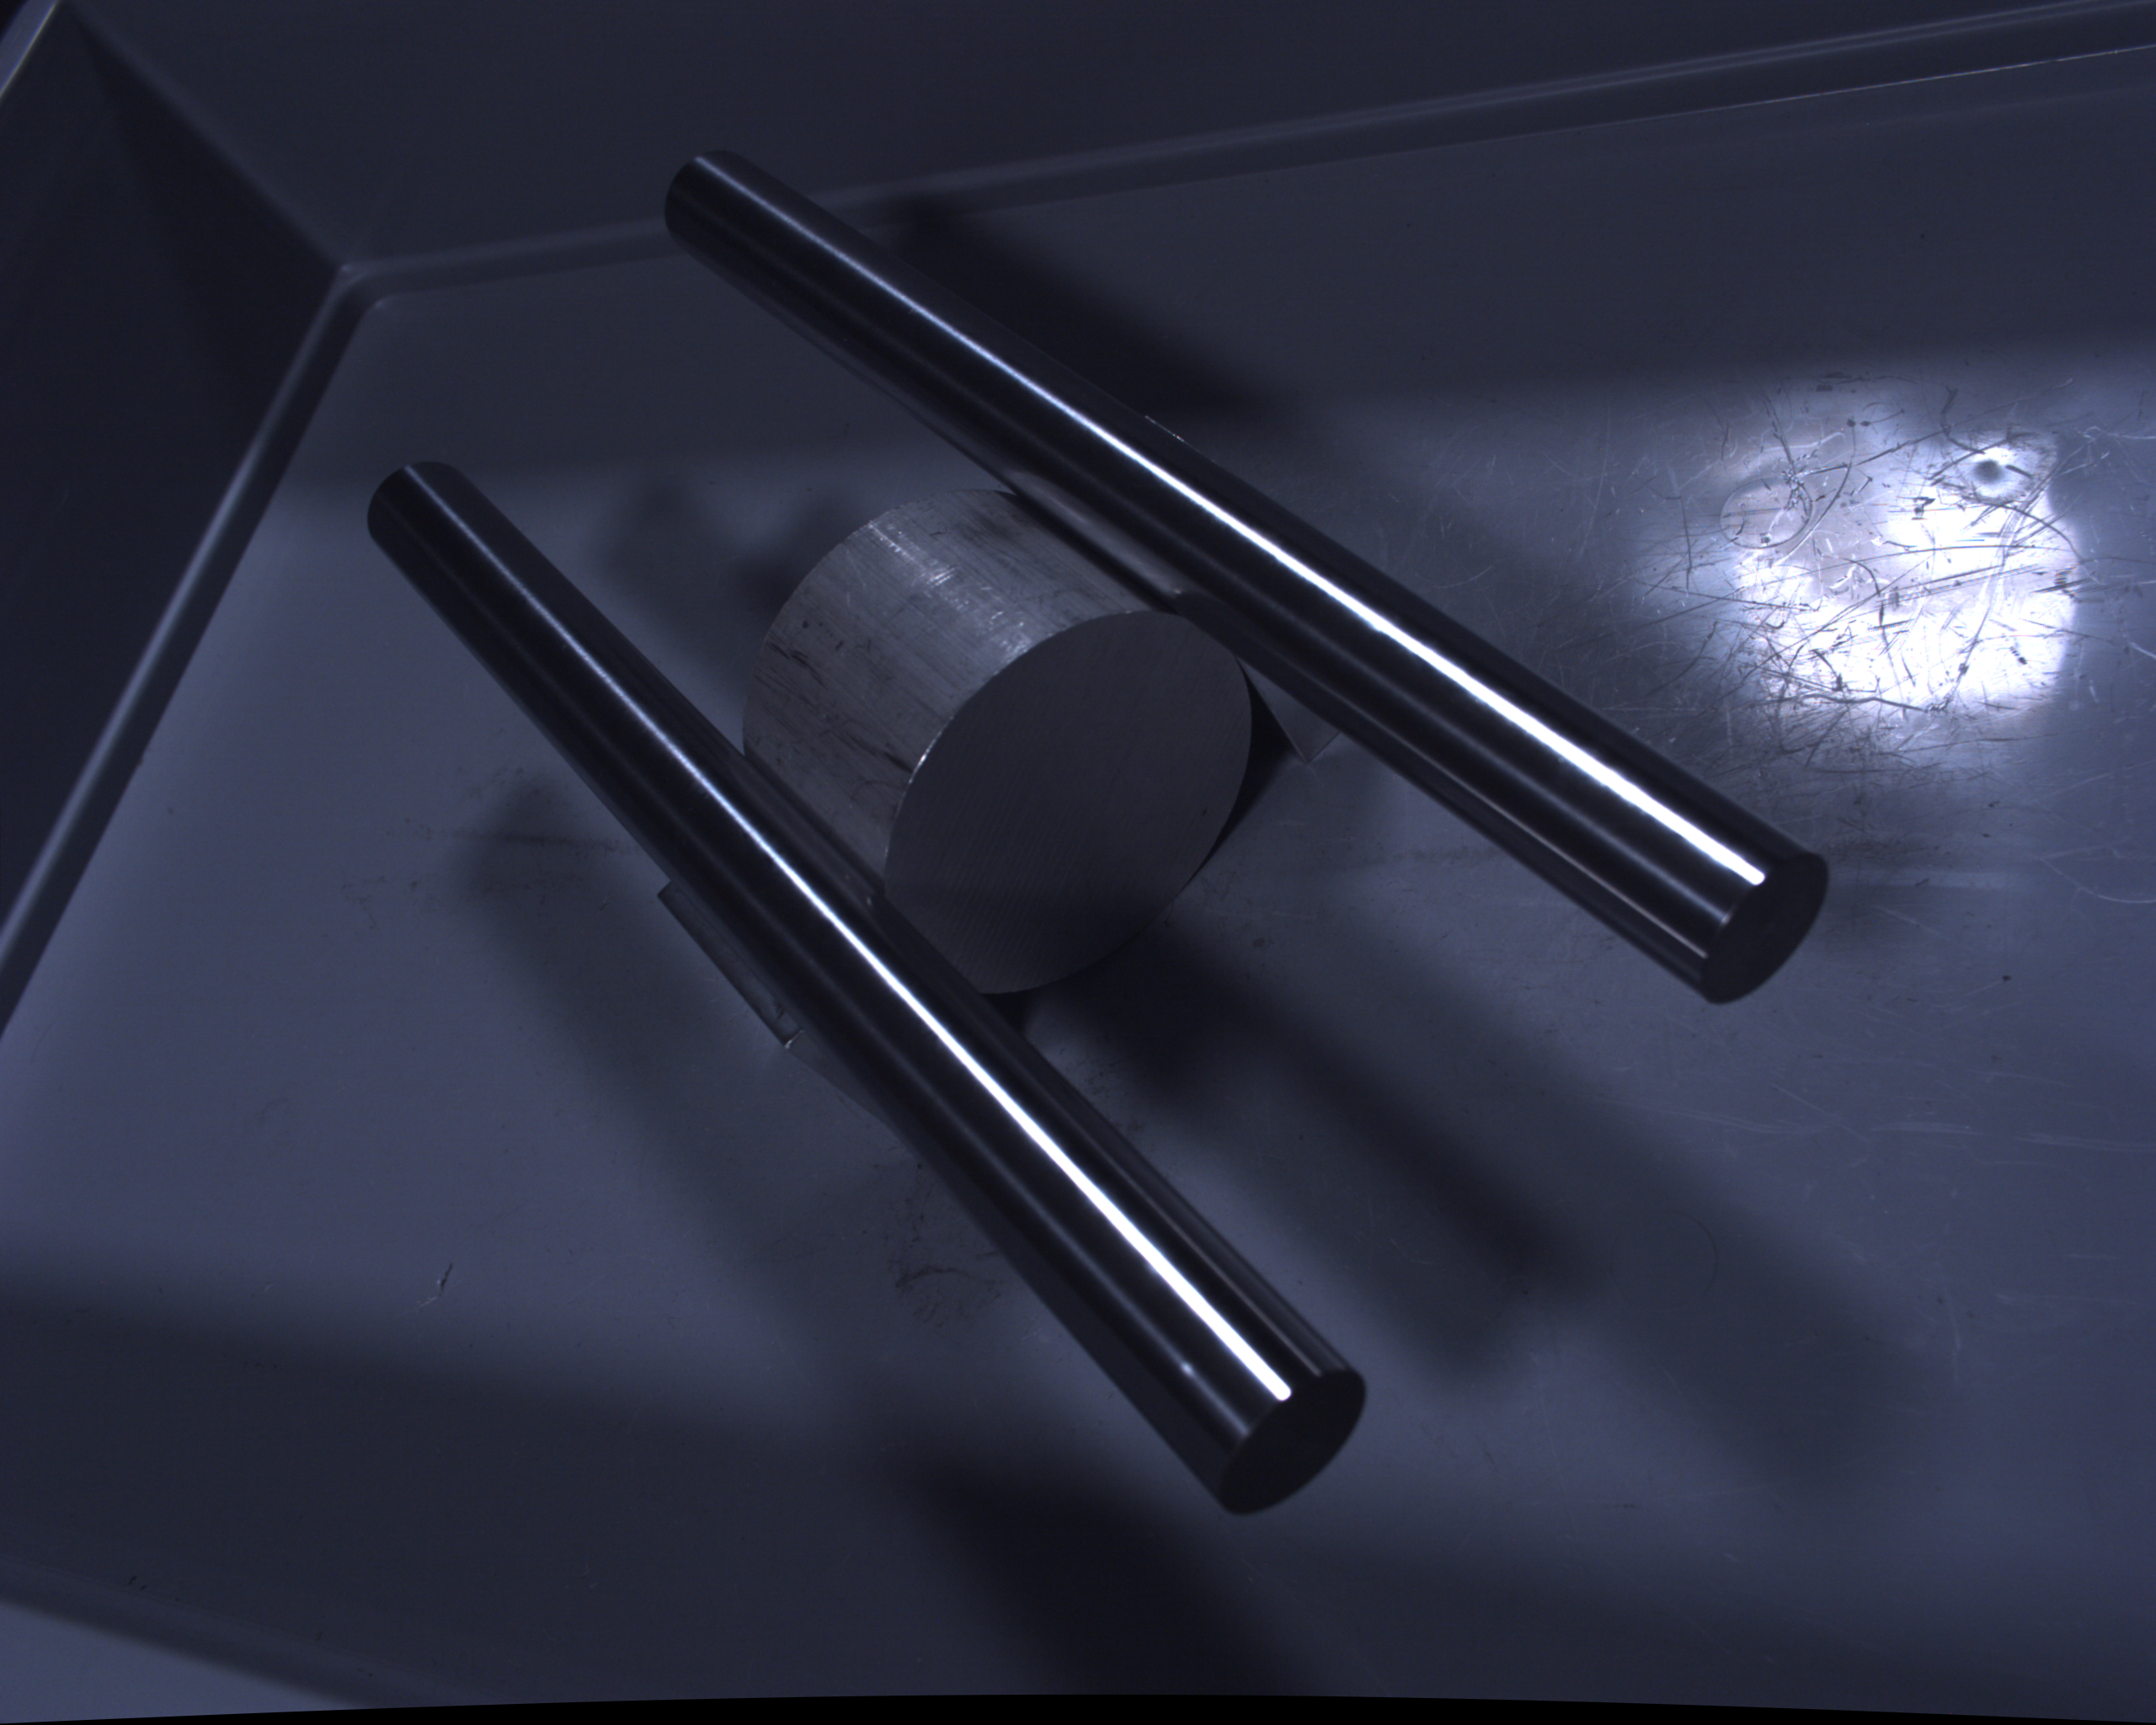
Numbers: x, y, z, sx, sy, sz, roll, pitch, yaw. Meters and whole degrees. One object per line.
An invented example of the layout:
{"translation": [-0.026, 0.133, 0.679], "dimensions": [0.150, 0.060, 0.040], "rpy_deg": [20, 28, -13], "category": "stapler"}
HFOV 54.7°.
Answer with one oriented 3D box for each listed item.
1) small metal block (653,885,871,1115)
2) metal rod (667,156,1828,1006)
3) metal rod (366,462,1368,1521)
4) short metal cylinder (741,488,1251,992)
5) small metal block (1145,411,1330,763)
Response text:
{"translation": [-0.046, 0.022, 0.397], "dimensions": [0.025, 0.050, 0.050], "rpy_deg": [-45, 51, -3], "category": "small metal block"}
{"translation": [0.006, -0.069, 0.378], "dimensions": [0.025, 0.025, 0.300], "rpy_deg": [-45, 51, -4], "category": "metal rod"}
{"translation": [-0.059, 0.000, 0.370], "dimensions": [0.025, 0.025, 0.300], "rpy_deg": [-45, 51, -4], "category": "metal rod"}
{"translation": [-0.015, -0.023, 0.389], "dimensions": [0.080, 0.080, 0.050], "rpy_deg": [-45, 51, -3], "category": "short metal cylinder"}
{"translation": [0.029, -0.053, 0.403], "dimensions": [0.025, 0.050, 0.050], "rpy_deg": [-45, 51, -3], "category": "small metal block"}
